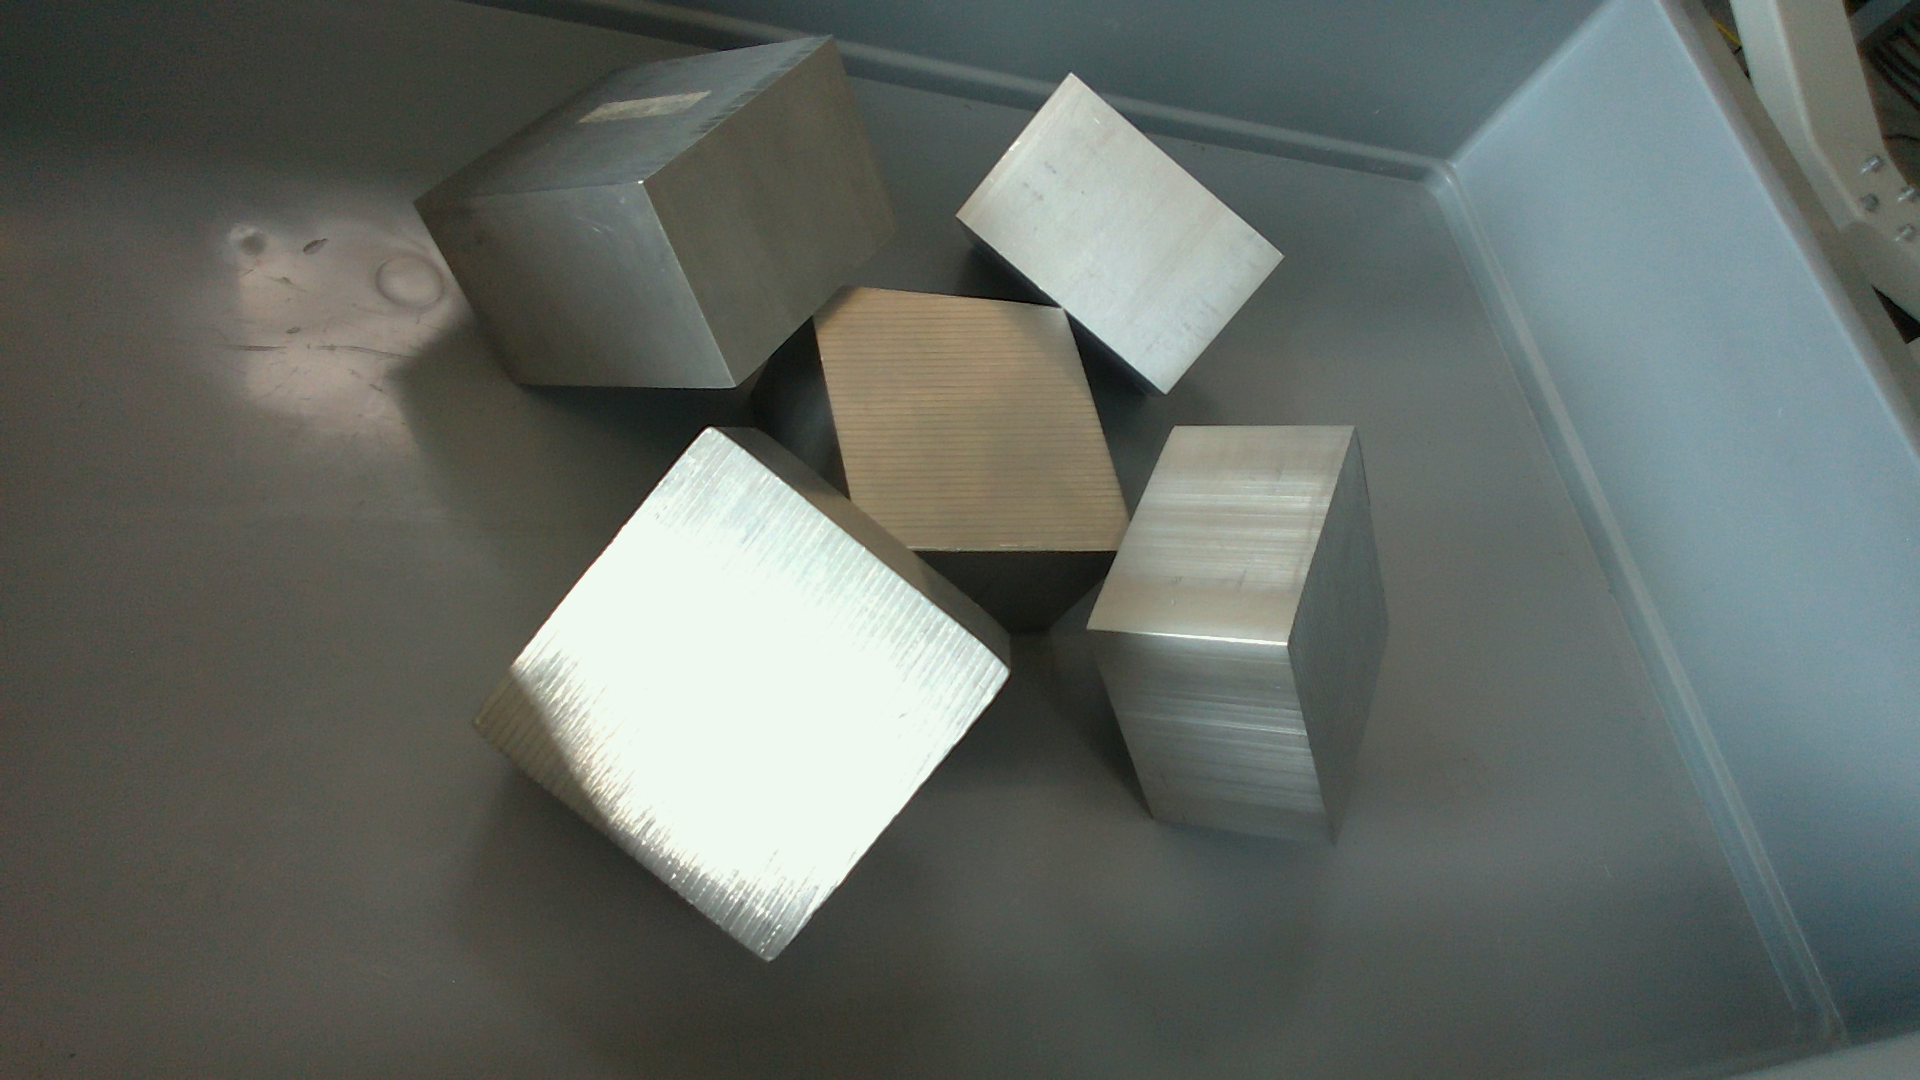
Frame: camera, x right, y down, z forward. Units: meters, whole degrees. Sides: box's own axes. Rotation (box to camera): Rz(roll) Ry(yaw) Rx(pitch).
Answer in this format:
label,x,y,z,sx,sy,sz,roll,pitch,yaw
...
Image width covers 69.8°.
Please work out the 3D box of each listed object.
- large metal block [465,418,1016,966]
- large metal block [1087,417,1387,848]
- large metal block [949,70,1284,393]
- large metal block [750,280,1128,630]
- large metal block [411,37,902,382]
label,x,y,z,sx,sy,sz,roll,pitch,yaw
large metal block,-0.044,0.030,0.304,0.080,0.050,0.080,39,95,-2
large metal block,0.079,0.023,0.372,0.080,0.050,0.080,-62,143,-39
large metal block,0.047,-0.091,0.426,0.080,0.050,0.080,40,8,-1
large metal block,-0.006,-0.021,0.380,0.080,0.050,0.080,1,61,-28
large metal block,-0.075,-0.084,0.353,0.080,0.080,0.050,-54,137,-39
